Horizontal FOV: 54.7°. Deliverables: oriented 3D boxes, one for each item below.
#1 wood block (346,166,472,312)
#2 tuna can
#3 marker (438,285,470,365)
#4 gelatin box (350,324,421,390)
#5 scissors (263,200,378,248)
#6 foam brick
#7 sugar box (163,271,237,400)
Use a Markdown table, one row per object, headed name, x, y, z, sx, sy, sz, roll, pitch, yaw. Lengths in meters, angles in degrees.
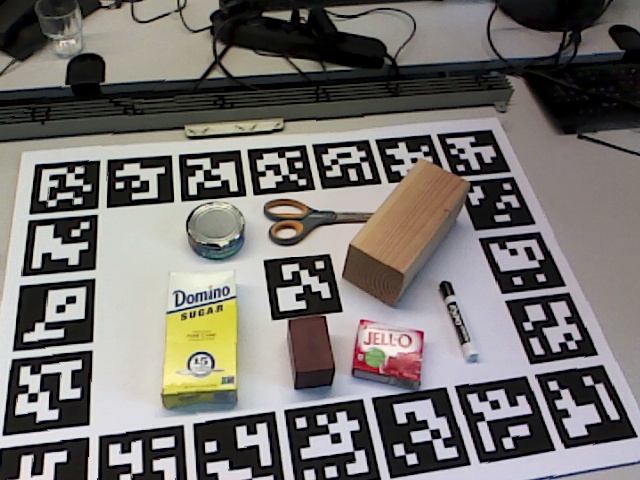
| name | x | y | z | sx | sy | sz | roll | pitch | yaw |
| --- | --- | --- | --- | --- | --- | --- | --- | --- | --- |
| wood block | 0.137 | -0.005 | 0.936 | 0.090 | 0.091 | 0.206 | 31 | 58 | 18 |
| tuna can | -0.159 | -0.012 | 0.949 | 0.086 | 0.033 | 0.086 | 2 | 55 | -3 |
| marker | 0.192 | 0.120 | 0.889 | 0.019 | 0.019 | 0.121 | -4 | 57 | -7 |
| gelatin box | 0.090 | 0.159 | 0.850 | 0.089 | 0.030 | 0.073 | 10 | 55 | 4 |
| scissors | 0.010 | -0.027 | 0.985 | 0.203 | 0.016 | 0.088 | 0 | 55 | -1 |
| foam brick | -0.013 | 0.152 | 0.830 | 0.052 | 0.051 | 0.078 | -4 | 56 | -6 |
| sugar box | -0.160 | 0.127 | 0.848 | 0.093 | 0.045 | 0.177 | -1 | 55 | -6 |
